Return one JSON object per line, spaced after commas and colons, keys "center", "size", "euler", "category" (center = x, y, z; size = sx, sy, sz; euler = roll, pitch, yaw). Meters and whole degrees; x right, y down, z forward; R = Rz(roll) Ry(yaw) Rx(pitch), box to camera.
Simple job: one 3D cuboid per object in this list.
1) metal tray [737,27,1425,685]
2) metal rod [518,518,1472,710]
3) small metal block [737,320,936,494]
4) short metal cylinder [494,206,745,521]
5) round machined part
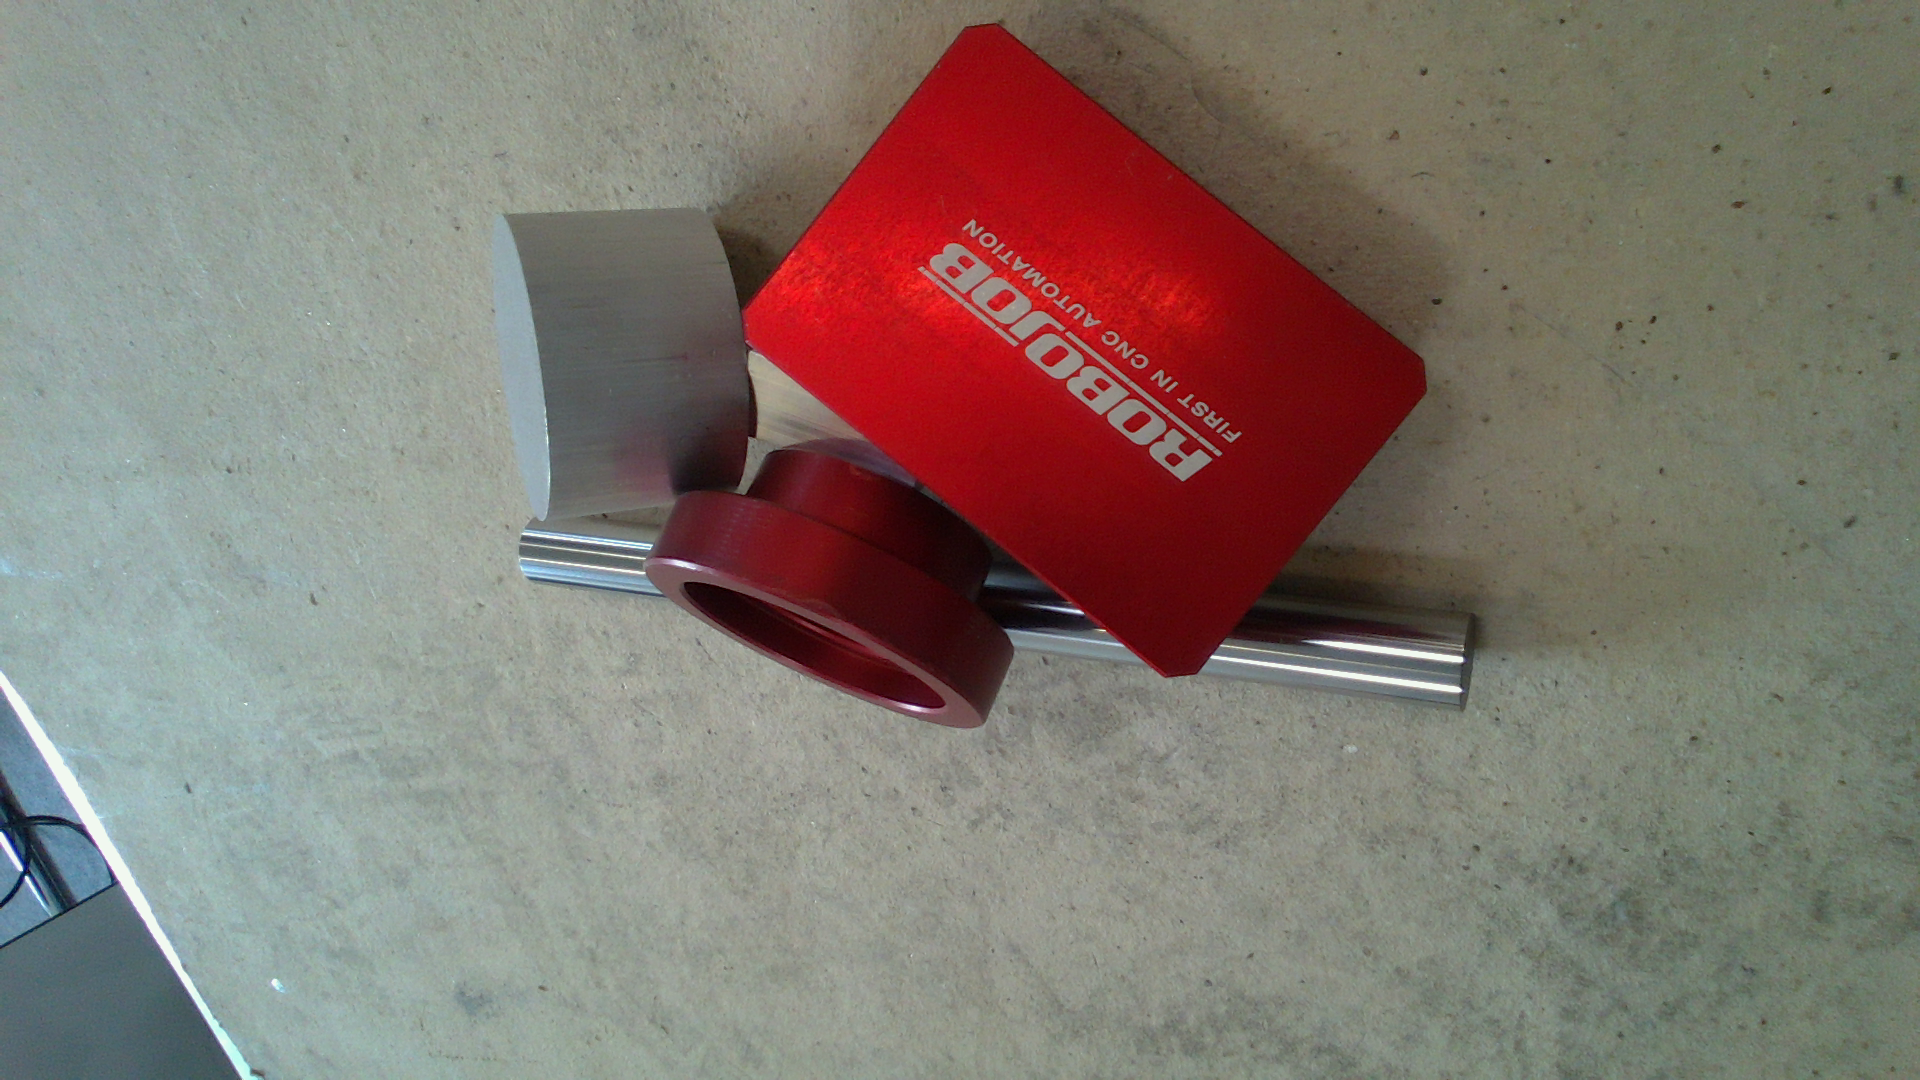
{"center": [0.027, -0.041, 0.317], "size": [0.130, 0.030, 0.090], "euler": [39, 91, 2], "category": "metal tray"}
{"center": [-0.008, 0.016, 0.408], "size": [0.299, 0.025, 0.025], "euler": [6, 121, 25], "category": "metal rod"}
{"center": [-0.023, -0.039, 0.363], "size": [0.050, 0.050, 0.025], "euler": [22, 127, 15], "category": "small metal block"}
{"center": [-0.094, -0.048, 0.372], "size": [0.080, 0.050, 0.080], "euler": [171, 90, -67], "category": "short metal cylinder"}
{"center": [-0.030, 0.010, 0.365], "size": [0.098, 0.042, 0.098], "euler": [22, 163, 7], "category": "round machined part"}
